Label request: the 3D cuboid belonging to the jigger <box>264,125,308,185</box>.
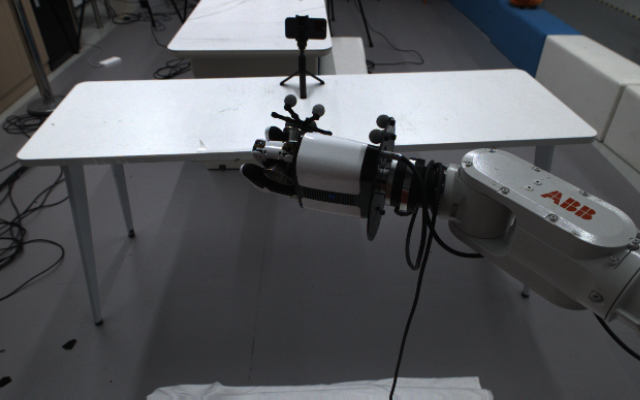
[{"bbox_3d":[-0.042,-0.061,0.651,0.043,0.043,0.071,15,71,18],"label":"jigger"}]
